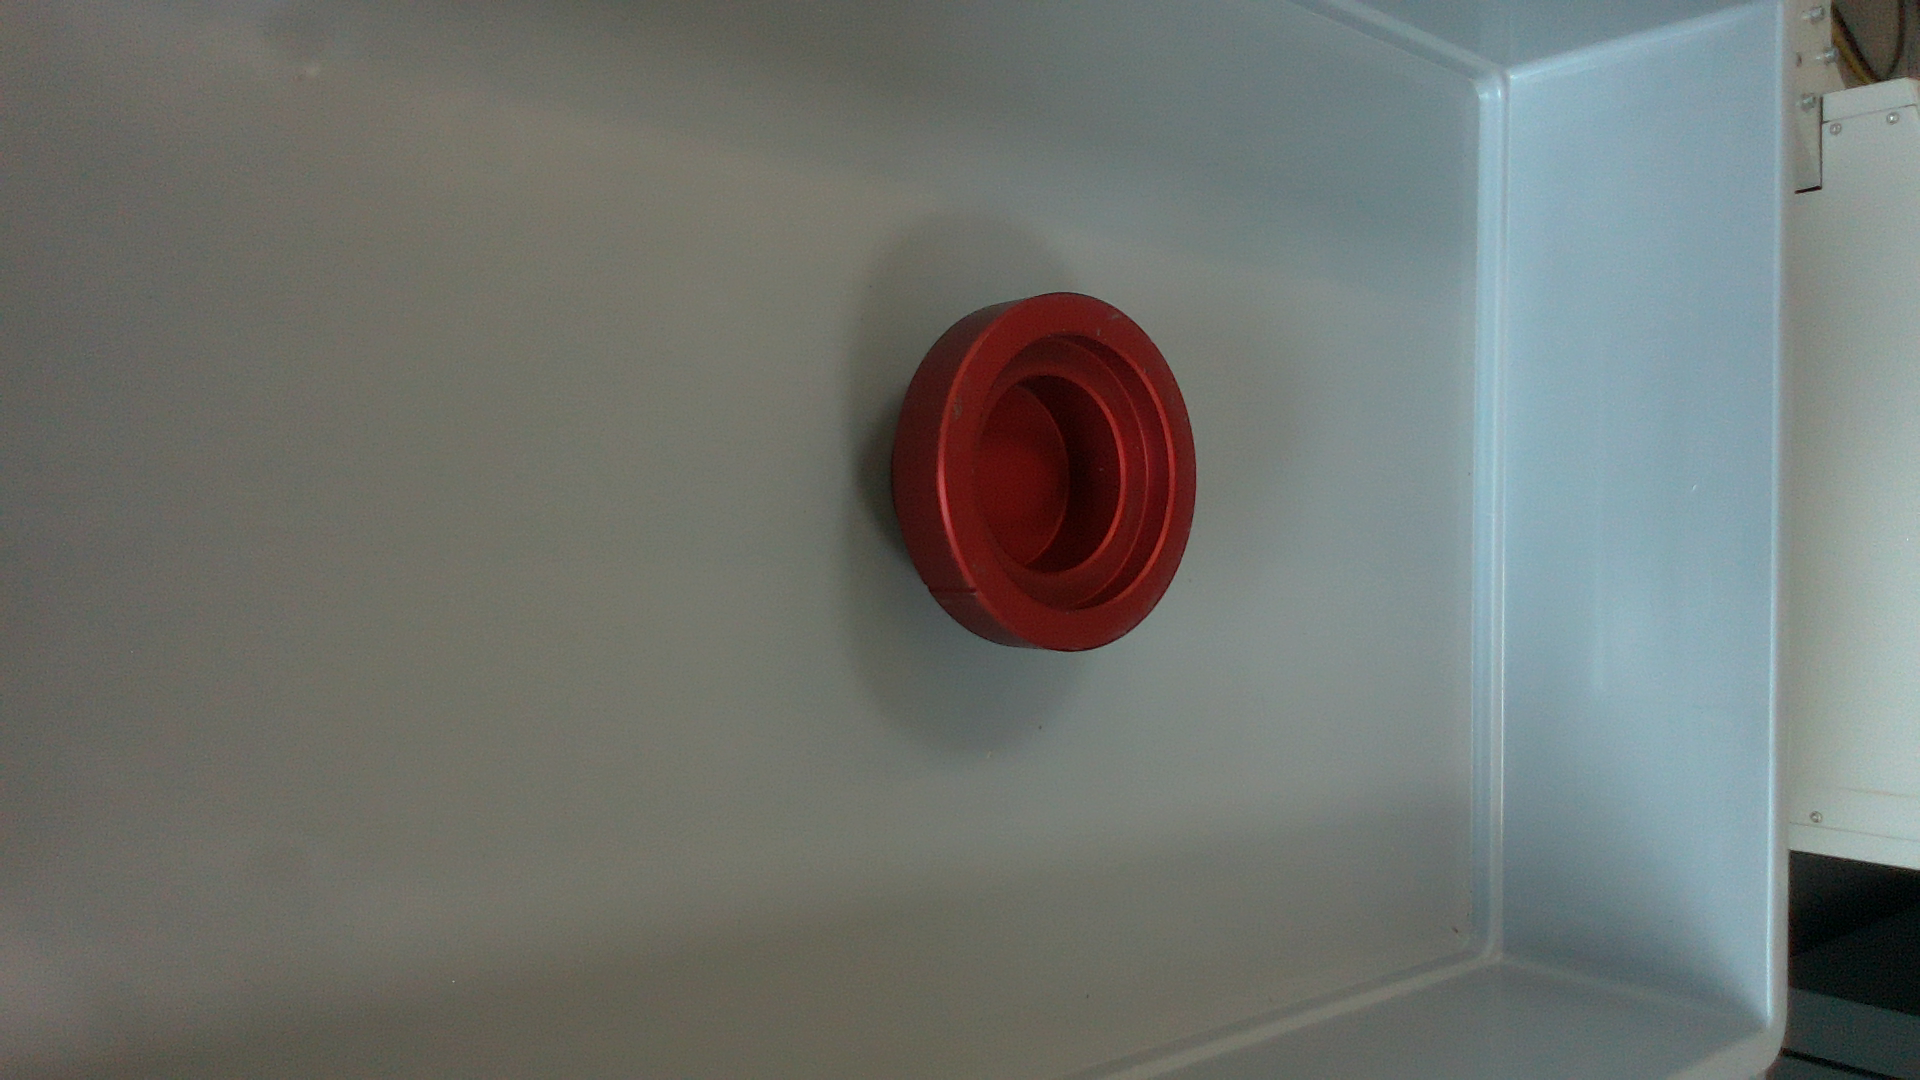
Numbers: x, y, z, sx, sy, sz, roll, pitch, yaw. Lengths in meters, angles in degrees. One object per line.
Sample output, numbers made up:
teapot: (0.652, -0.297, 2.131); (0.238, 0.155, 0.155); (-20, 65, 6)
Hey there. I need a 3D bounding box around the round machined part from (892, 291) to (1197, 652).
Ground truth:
round machined part: (0.019, -0.019, 0.390); (0.098, 0.042, 0.098); (0, 90, -40)
